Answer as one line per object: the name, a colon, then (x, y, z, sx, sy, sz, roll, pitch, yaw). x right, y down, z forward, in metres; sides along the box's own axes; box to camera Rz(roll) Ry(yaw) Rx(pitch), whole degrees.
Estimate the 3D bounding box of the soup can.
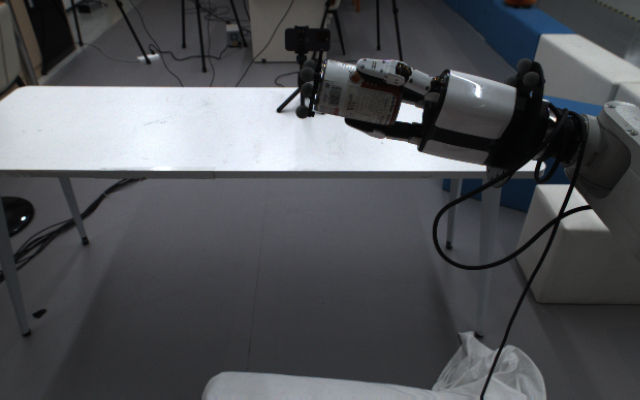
soup can: (0.050, -0.135, 0.613, 0.101, 0.067, 0.067, 11, 35, -2)
